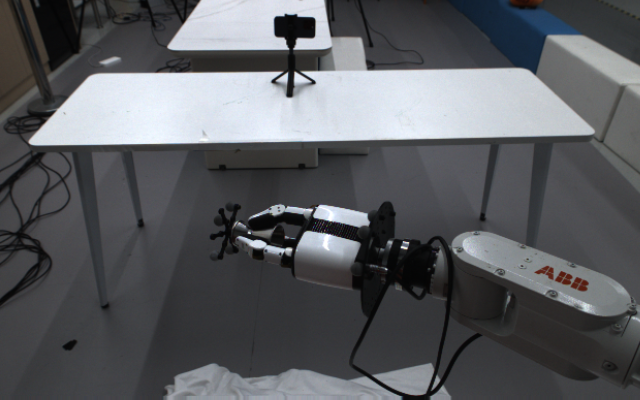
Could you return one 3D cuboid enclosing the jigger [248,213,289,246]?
[{"bbox_3d":[-0.087,0.051,0.717,0.071,0.043,0.043,7,34,23],"label":"jigger"}]
